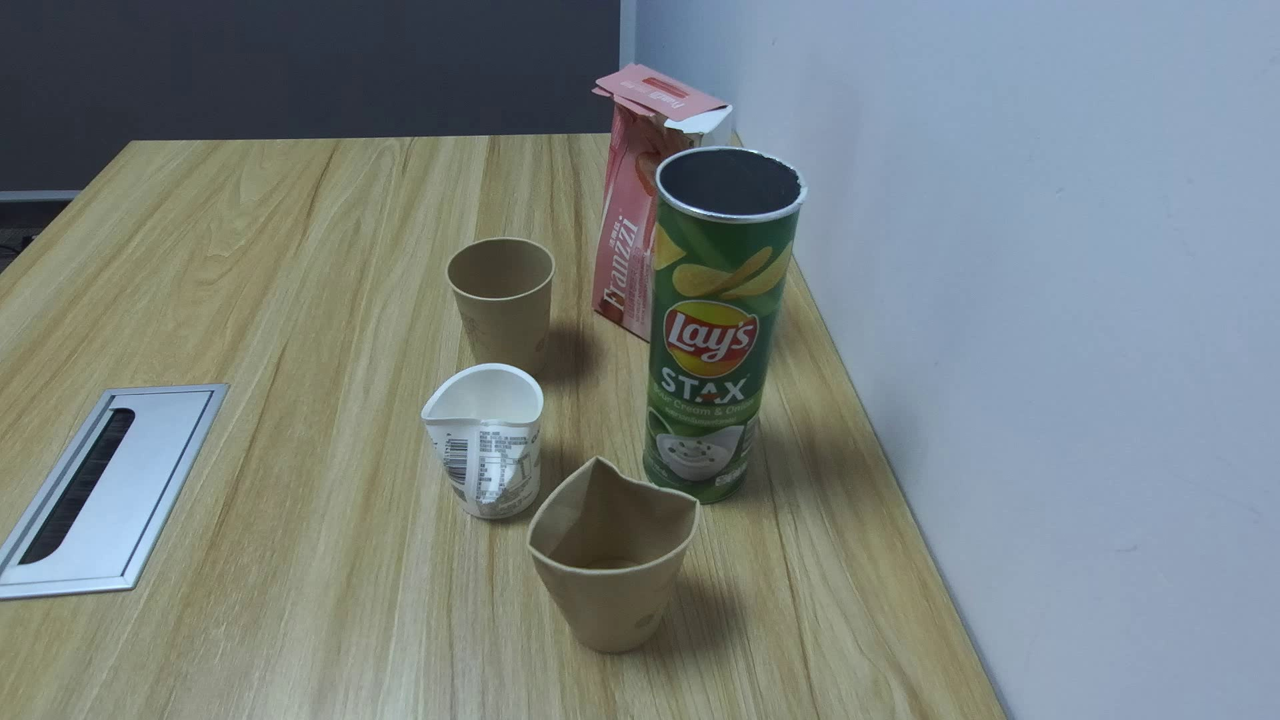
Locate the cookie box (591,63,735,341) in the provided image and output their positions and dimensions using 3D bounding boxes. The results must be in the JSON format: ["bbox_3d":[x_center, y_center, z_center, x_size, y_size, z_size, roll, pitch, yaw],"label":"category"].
[{"bbox_3d":[0.012,-0.099,0.504,0.055,0.184,0.118,-29,50,-31],"label":"cookie box"}]

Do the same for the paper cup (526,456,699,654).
[{"bbox_3d":[-0.013,0.104,0.351,0.071,0.084,0.066,20,45,19],"label":"paper cup"}]

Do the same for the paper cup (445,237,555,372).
[{"bbox_3d":[-0.094,-0.031,0.499,0.075,0.082,0.075,2,40,-1],"label":"paper cup"}]

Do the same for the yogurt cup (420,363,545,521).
[{"bbox_3d":[-0.087,0.051,0.420,0.067,0.070,0.067,-1,40,1],"label":"yogurt cup"}]

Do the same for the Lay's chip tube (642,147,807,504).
[{"bbox_3d":[0.039,-0.009,0.387,0.071,0.203,0.071,1,43,0],"label":"Lay's chip tube"}]
